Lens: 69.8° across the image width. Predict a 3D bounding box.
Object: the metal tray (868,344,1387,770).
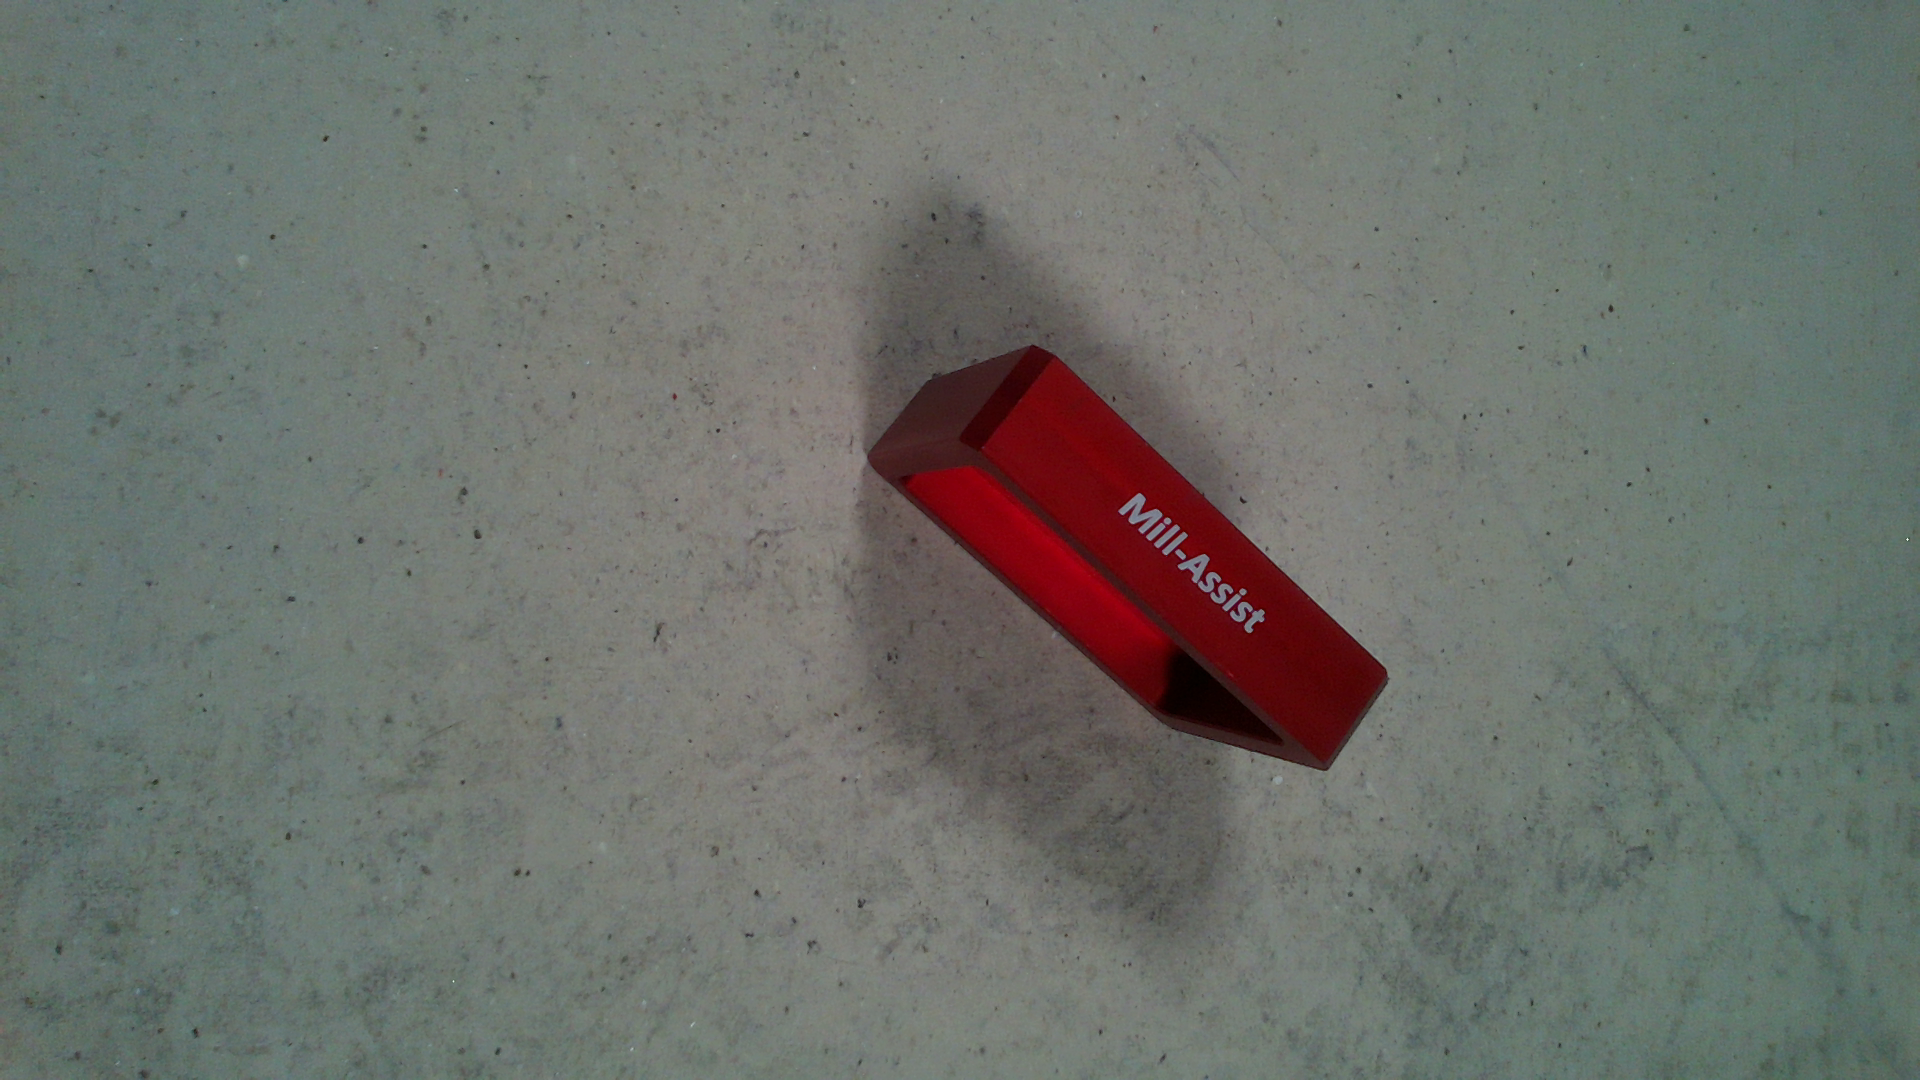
[{"bbox_3d":[0.042,0.006,0.374,0.130,0.090,0.030,41,77,-15],"label":"metal tray"}]
